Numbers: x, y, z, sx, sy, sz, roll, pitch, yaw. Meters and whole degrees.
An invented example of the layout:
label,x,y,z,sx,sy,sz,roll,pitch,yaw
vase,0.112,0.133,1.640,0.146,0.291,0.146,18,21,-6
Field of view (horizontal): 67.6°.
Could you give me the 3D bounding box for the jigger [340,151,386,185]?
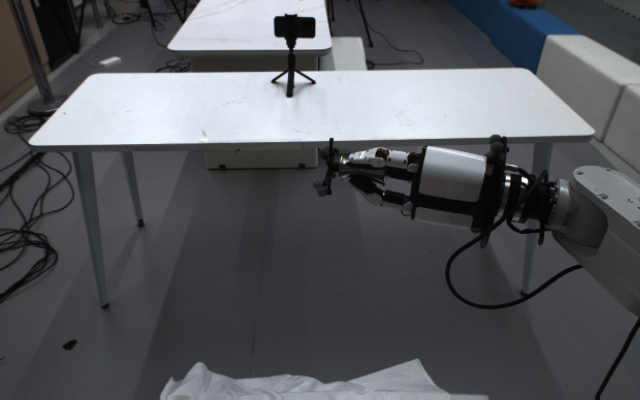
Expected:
label,x,y,z,sx,sy,sz,roll,pitch,yaw
jigger,0.072,-0.049,0.728,0.071,0.043,0.043,6,35,10
